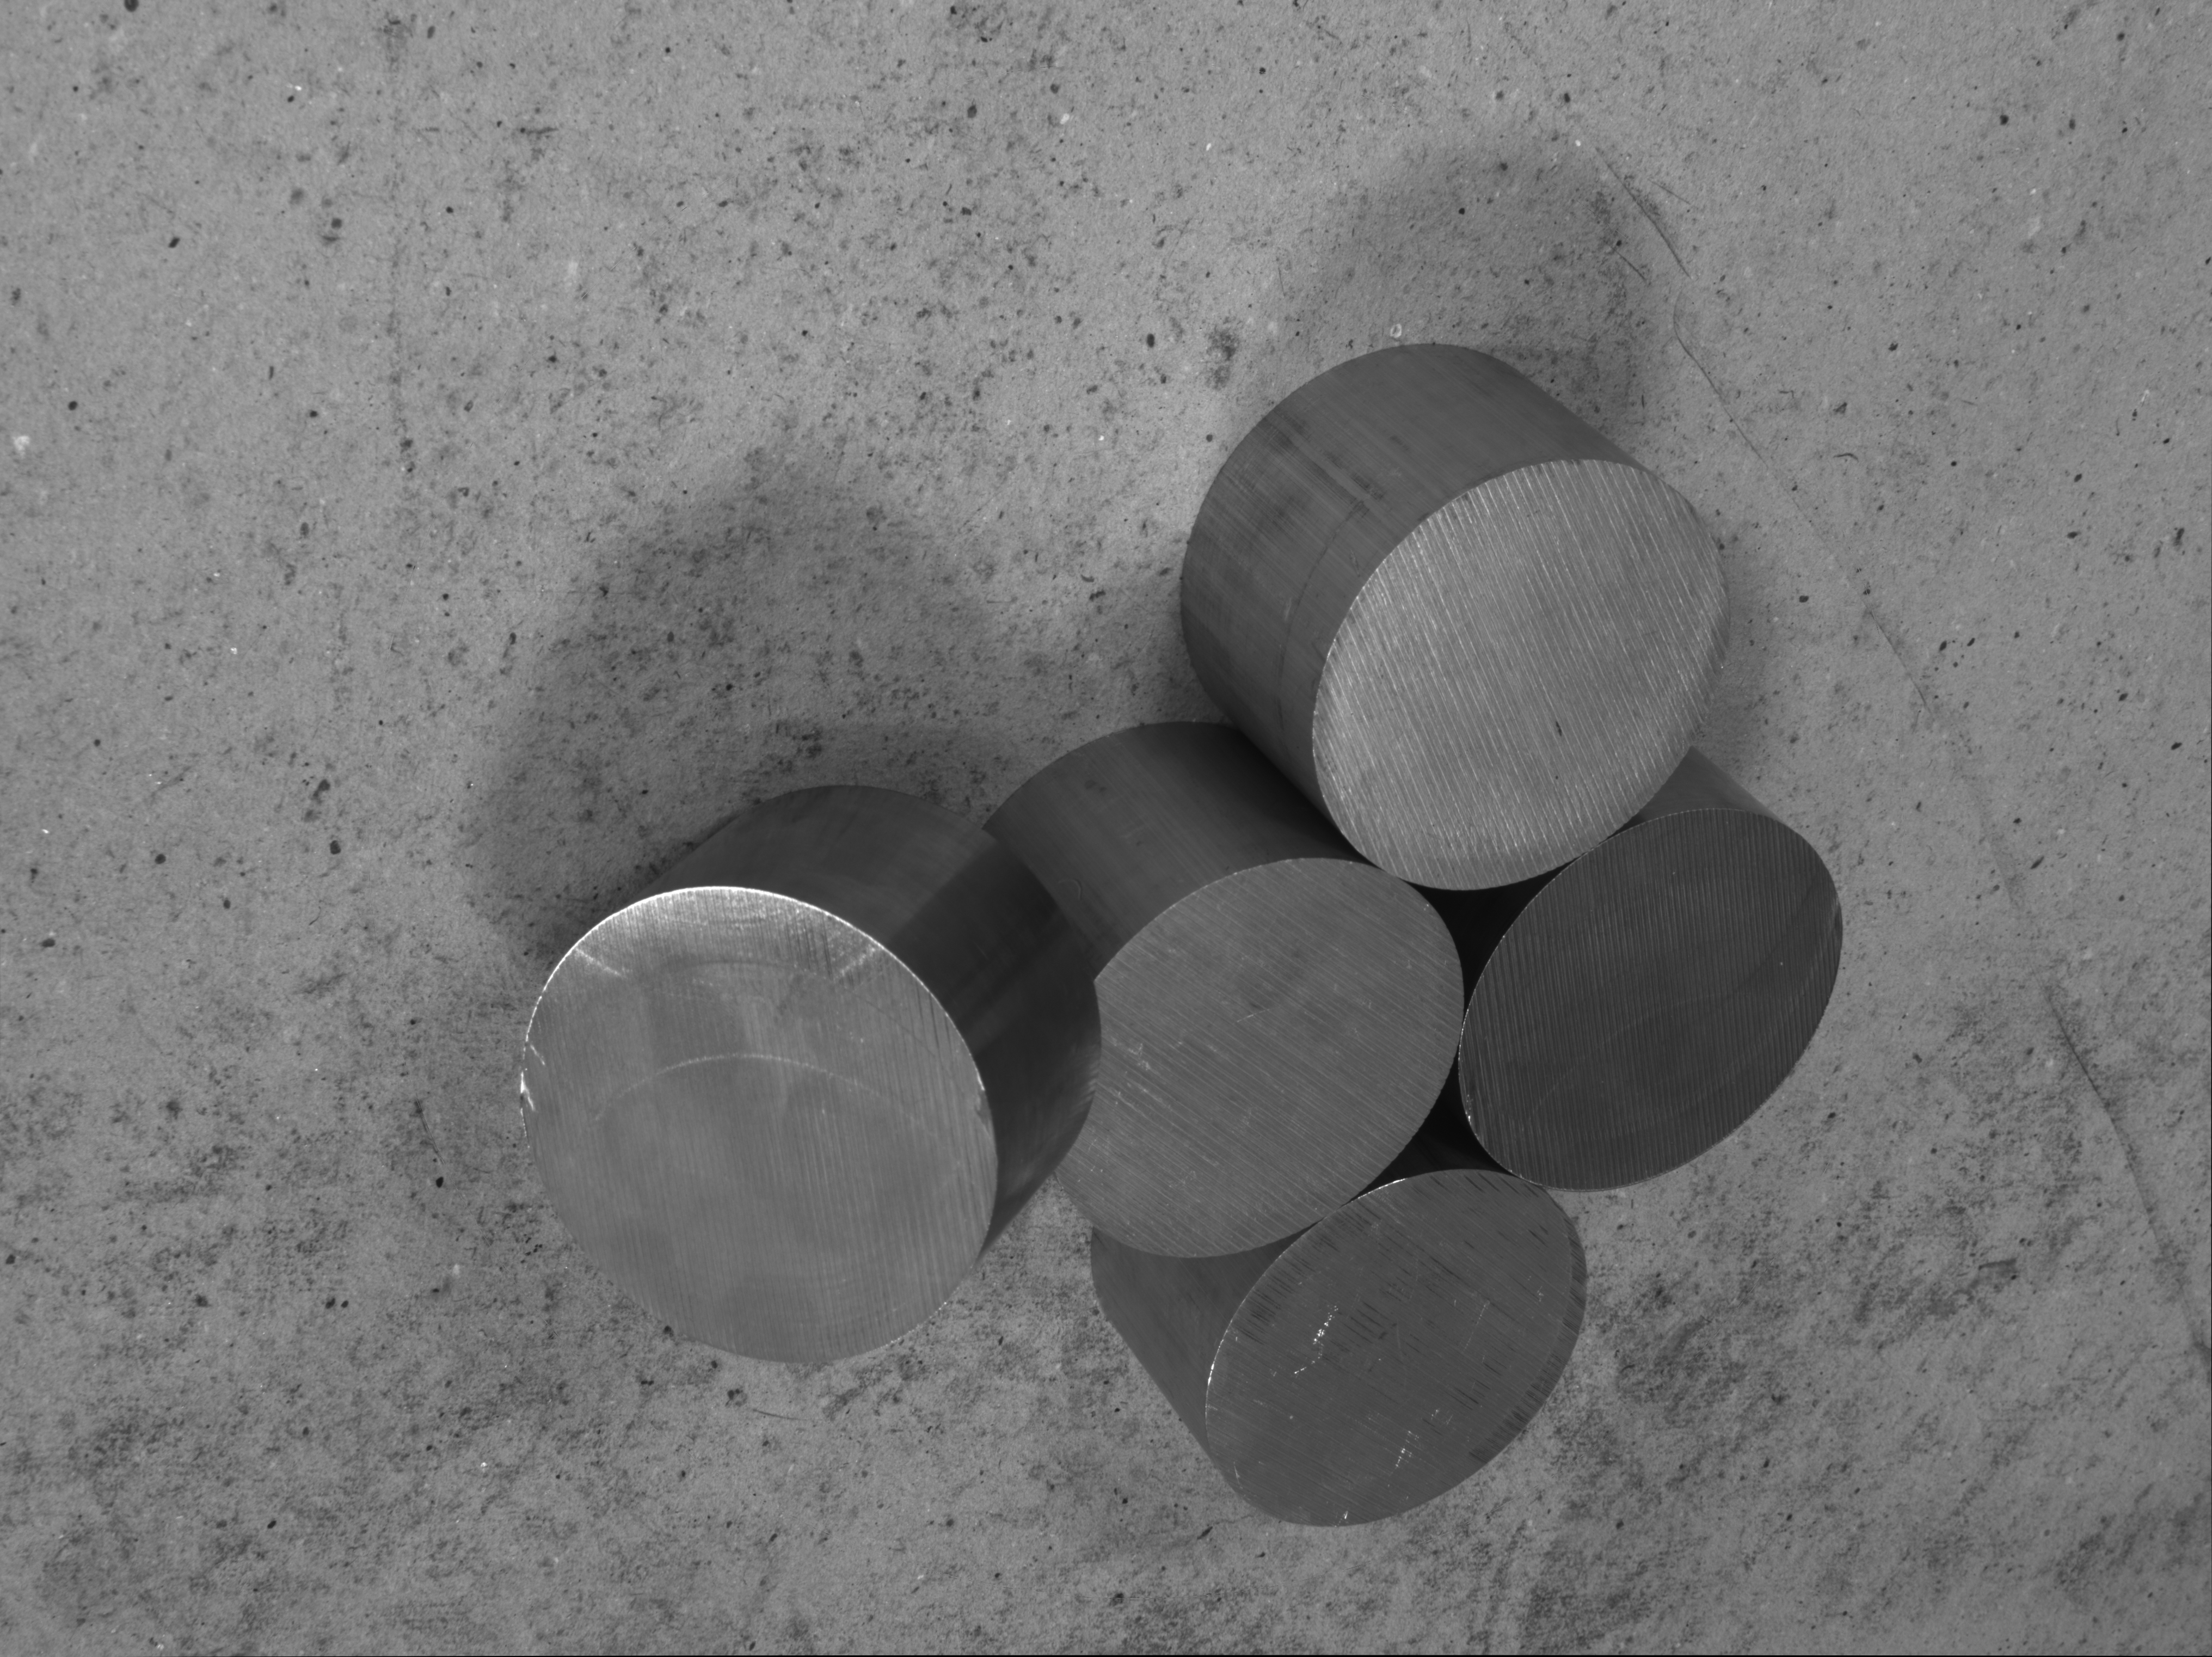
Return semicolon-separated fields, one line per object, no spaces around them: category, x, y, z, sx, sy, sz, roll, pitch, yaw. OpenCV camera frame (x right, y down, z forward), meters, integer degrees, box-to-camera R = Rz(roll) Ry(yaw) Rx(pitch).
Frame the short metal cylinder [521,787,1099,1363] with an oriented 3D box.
short metal cylinder;-0.047;0.039;0.593;0.080;0.050;0.080;6;111;17

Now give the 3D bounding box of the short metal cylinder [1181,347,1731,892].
short metal cylinder;0.060;-0.036;0.631;0.080;0.050;0.080;-14;124;-21

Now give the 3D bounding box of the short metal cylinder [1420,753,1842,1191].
short metal cylinder;0.089;0.020;0.681;0.080;0.050;0.080;-14;124;-21

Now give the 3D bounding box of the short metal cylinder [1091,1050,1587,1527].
short metal cylinder;0.044;0.085;0.696;0.080;0.050;0.080;-14;124;-21

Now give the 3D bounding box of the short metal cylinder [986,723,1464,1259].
short metal cylinder;0.016;0.028;0.647;0.080;0.050;0.080;-14;124;-21
